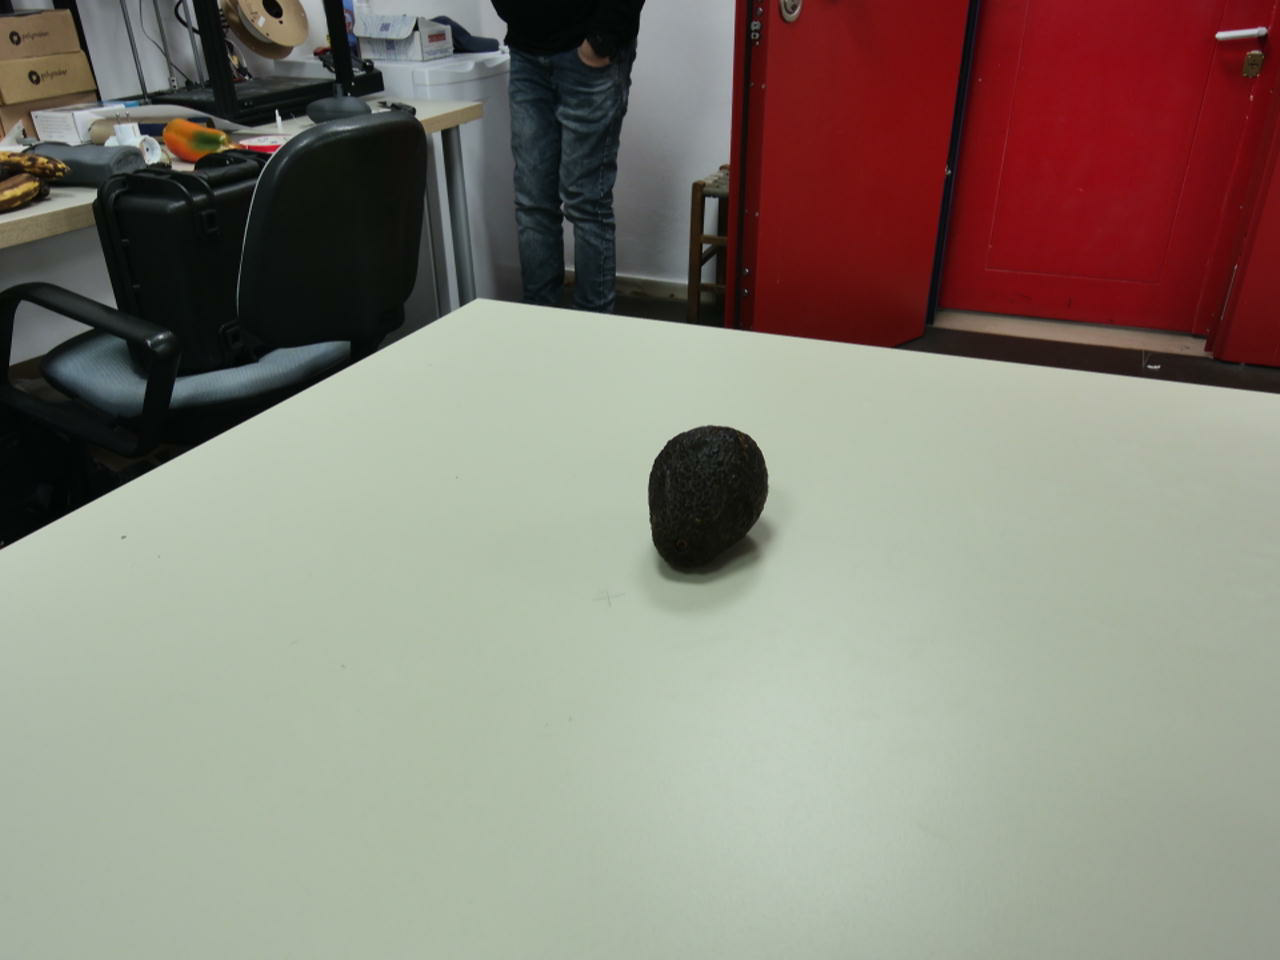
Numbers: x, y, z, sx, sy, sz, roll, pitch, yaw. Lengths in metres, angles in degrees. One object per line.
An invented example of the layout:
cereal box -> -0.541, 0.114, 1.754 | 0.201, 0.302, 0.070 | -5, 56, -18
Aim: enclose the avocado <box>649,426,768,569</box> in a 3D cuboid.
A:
avocado -> 0.036, 0.005, 0.587 | 0.090, 0.069, 0.070 | -21, 32, -36
